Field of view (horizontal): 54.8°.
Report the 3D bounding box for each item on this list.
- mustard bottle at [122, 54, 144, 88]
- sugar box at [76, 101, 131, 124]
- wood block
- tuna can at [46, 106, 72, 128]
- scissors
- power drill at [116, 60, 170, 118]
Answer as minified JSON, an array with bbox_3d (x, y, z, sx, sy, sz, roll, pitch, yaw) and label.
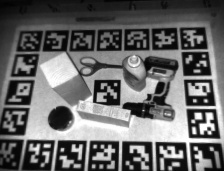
[{"bbox_3d":[0.068,-0.057,0.727,0.058,0.192,0.095,-39,73,-6],"label":"mustard bottle"},{"bbox_3d":[-0.026,0.089,0.733,0.176,0.093,0.045,11,70,7],"label":"sugar box"},{"bbox_3d":[-0.152,-0.021,0.728,0.091,0.207,0.089,-28,72,-3],"label":"wood block"},{"bbox_3d":[-0.188,0.106,0.767,0.085,0.034,0.085,-1,73,4],"label":"tuna can"},{"bbox_3d":[-0.060,-0.089,0.832,0.202,0.016,0.087,2,68,6],"label":"scissors"},{"bbox_3d":[0.120,0.010,0.763,0.183,0.057,0.187,12,80,9],"label":"power drill"}]
